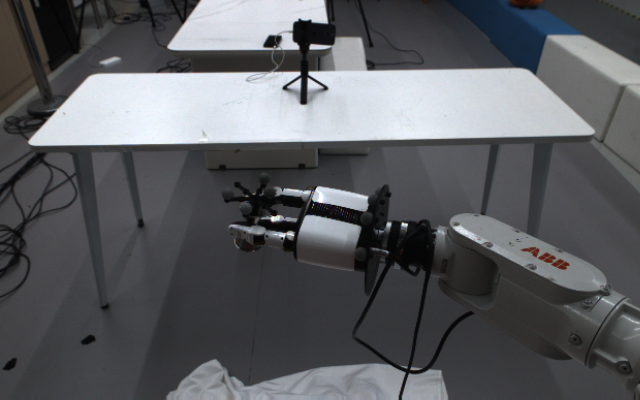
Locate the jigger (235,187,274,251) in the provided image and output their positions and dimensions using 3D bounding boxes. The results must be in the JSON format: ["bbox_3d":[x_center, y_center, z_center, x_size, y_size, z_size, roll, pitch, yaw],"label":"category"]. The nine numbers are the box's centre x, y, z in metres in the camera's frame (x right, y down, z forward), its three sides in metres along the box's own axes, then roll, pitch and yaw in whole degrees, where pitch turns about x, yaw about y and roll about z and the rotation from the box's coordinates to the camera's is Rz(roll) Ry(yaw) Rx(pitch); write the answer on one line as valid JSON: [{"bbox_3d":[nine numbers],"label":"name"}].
[{"bbox_3d":[-0.103,0.038,0.723,0.043,0.071,0.043,10,36,-7],"label":"jigger"}]
